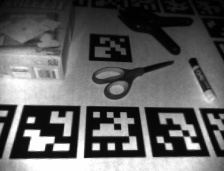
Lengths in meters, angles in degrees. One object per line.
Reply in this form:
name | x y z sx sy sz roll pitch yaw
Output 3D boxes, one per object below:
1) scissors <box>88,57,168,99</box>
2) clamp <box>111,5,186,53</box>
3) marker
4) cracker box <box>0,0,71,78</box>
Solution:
scissors | 0.045 -0.035 0.471 0.204 0.016 0.087 -22 56 -25
clamp | 0.089 -0.176 0.597 0.201 0.037 0.166 26 51 13
marker | 0.188 -0.029 0.483 0.020 0.020 0.120 -1 51 -7
cracker box | -0.187 -0.118 0.477 0.164 0.072 0.212 3 51 -5
